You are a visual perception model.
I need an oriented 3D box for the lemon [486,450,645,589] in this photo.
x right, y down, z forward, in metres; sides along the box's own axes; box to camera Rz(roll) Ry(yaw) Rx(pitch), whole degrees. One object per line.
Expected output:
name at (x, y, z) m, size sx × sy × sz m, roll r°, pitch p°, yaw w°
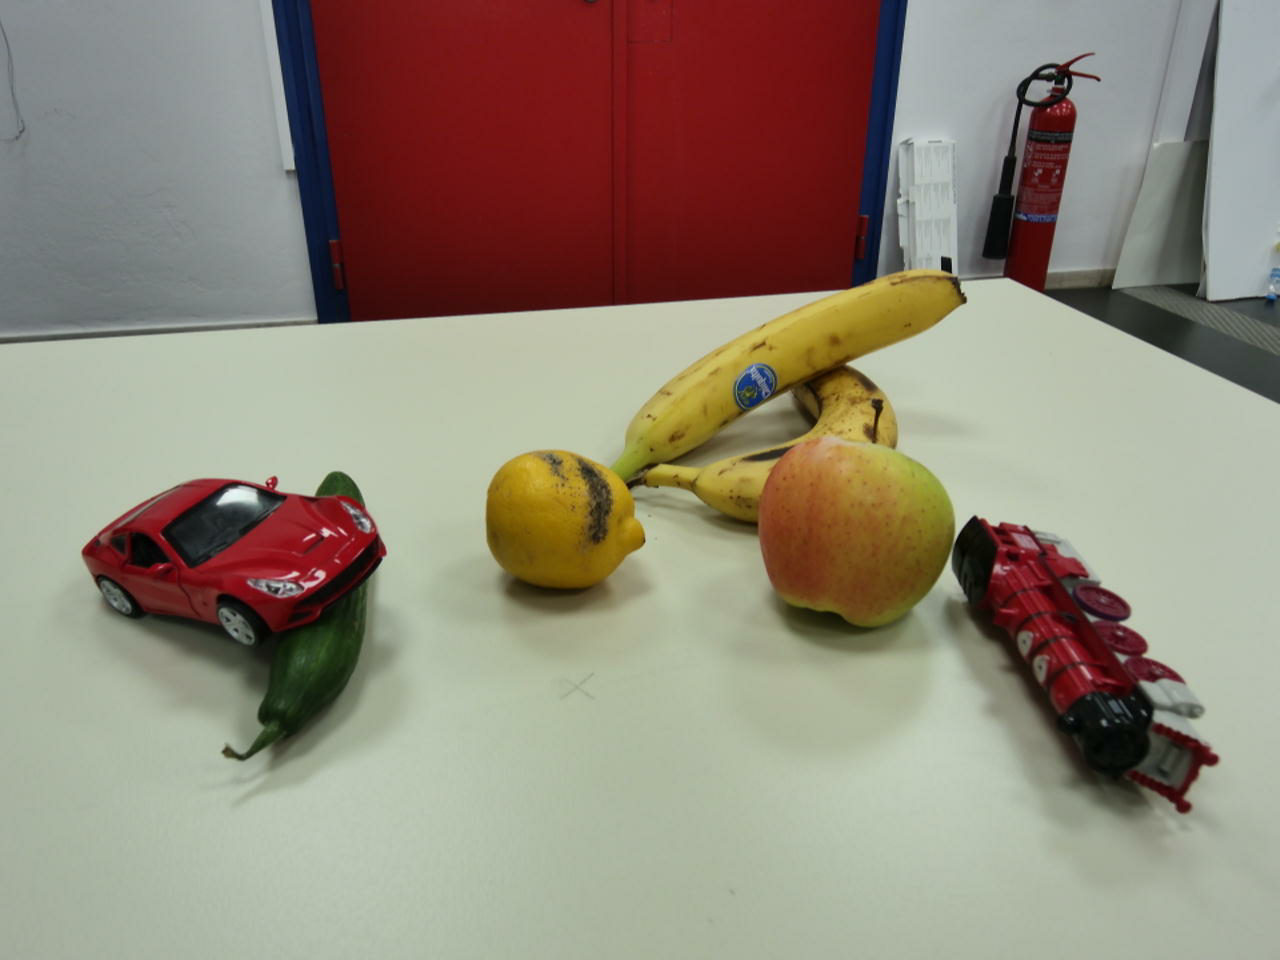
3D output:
lemon at (-0.033, 0.016, 0.410) m, size 0.061 × 0.056 × 0.058 m, roll -9°, pitch 26°, yaw -19°
